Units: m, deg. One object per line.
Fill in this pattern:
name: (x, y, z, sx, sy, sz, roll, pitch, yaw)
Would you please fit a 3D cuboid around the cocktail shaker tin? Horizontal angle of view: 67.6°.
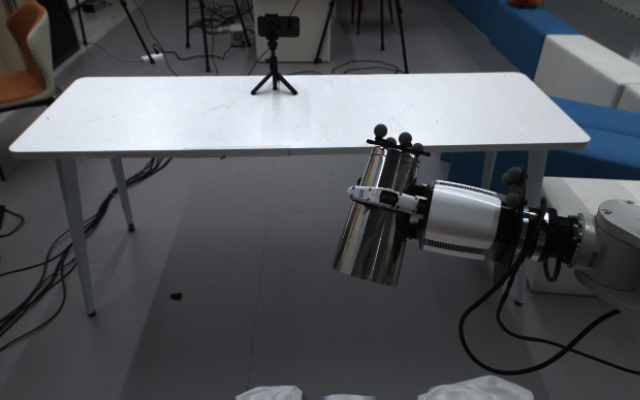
cocktail shaker tin: (0.082, 0.019, 0.648, 0.093, 0.170, 0.093, 15, -2, 0)
